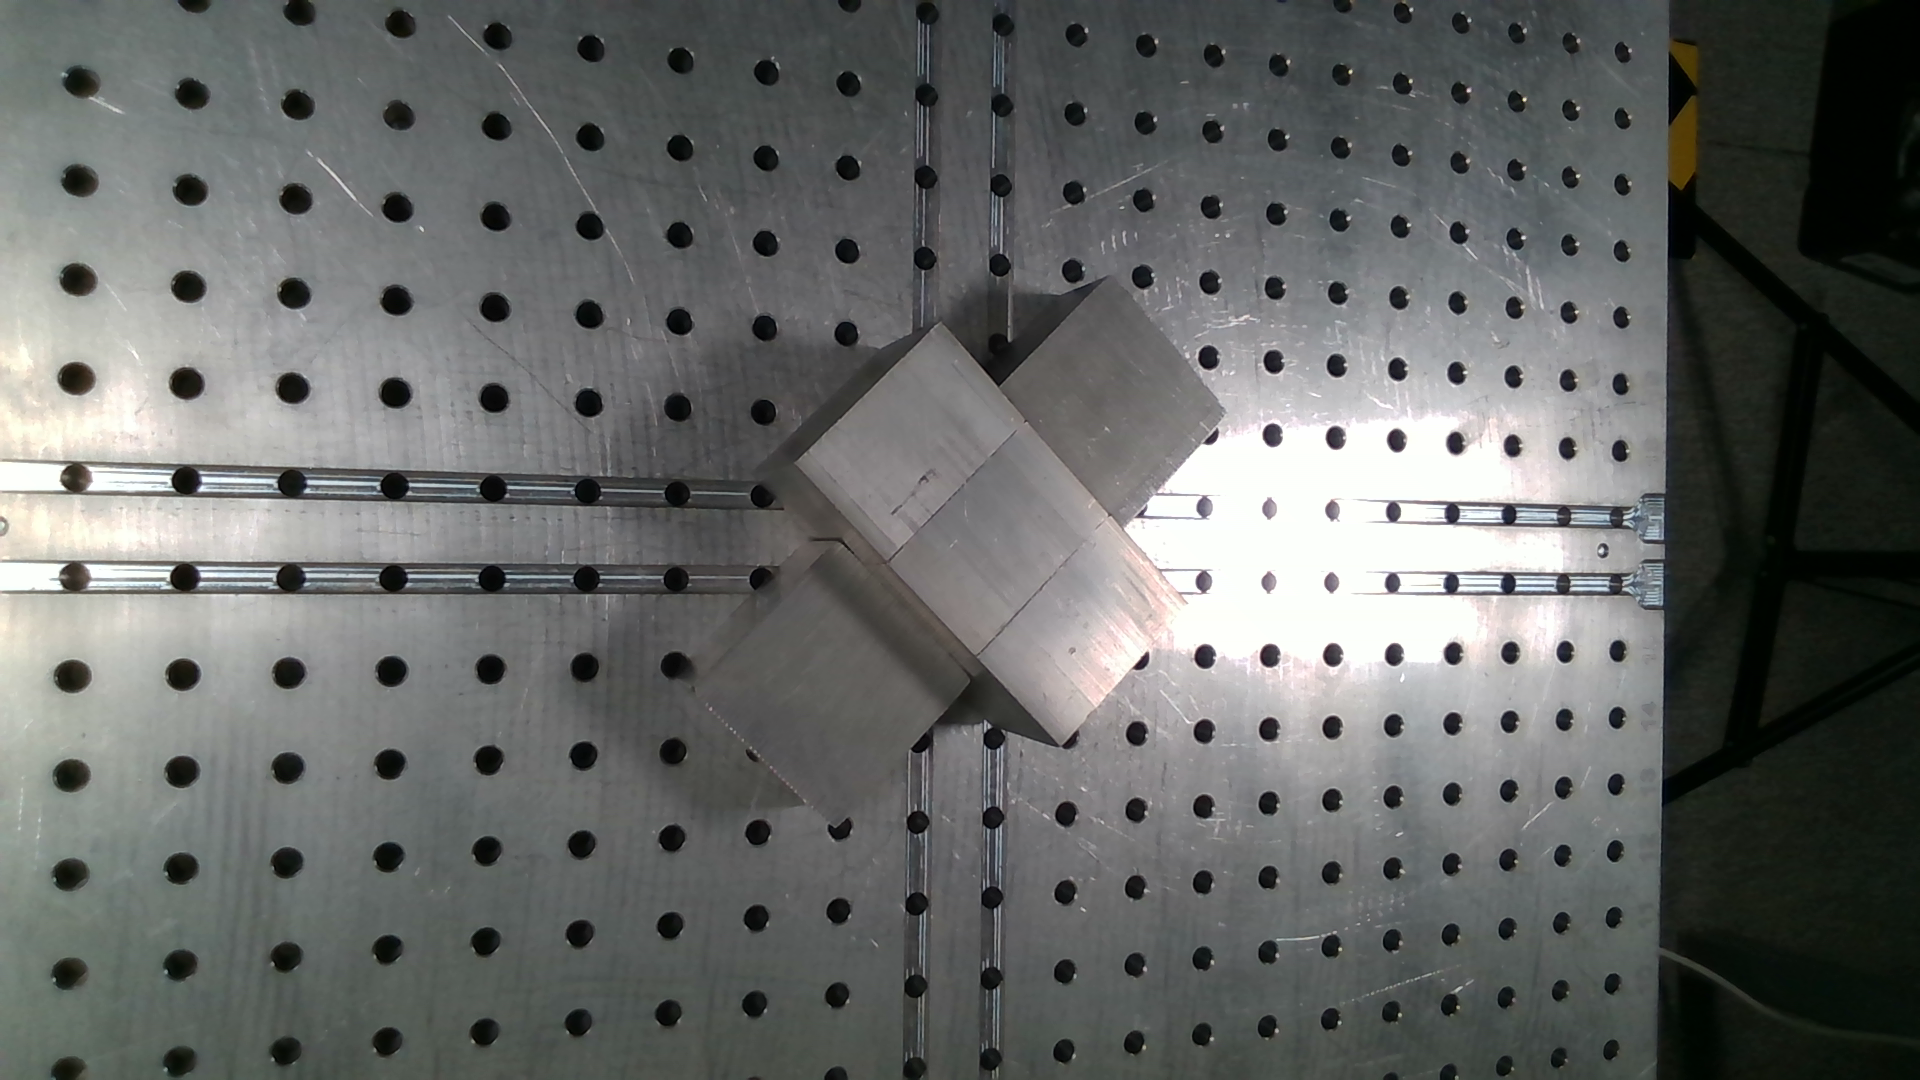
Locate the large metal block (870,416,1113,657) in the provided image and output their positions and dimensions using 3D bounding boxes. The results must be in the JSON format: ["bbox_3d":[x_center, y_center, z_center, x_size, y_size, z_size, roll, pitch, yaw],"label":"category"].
[{"bbox_3d":[0.003,-0.002,0.561,0.080,0.080,0.050,-46,104,-14],"label":"large metal block"}]

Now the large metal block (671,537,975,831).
[{"bbox_3d":[-0.056,0.056,0.555,0.080,0.050,0.080,-46,104,-14],"label":"large metal block"}]

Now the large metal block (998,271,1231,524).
[{"bbox_3d":[0.054,-0.054,0.592,0.080,0.050,0.080,46,76,-13],"label":"large metal block"}]

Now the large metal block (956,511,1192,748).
[{"bbox_3d":[0.036,0.035,0.573,0.080,0.080,0.050,-46,104,-14],"label":"large metal block"}]

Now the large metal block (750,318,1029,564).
[{"bbox_3d":[-0.031,-0.037,0.548,0.080,0.080,0.050,-46,104,-14],"label":"large metal block"}]
